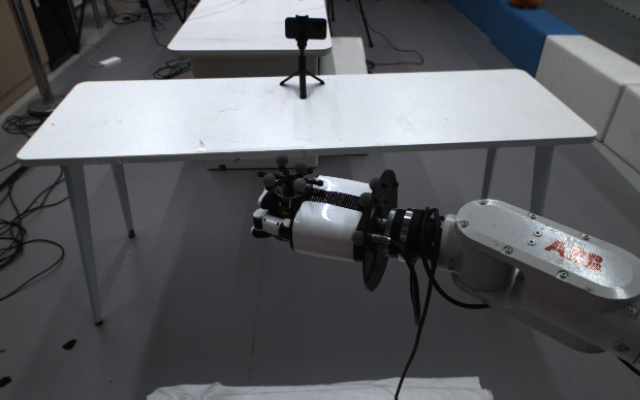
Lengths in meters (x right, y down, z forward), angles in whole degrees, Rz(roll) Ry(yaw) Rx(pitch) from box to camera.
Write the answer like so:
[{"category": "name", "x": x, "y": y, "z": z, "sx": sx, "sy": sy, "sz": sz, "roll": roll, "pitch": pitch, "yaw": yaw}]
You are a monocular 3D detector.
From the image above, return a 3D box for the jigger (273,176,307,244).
[{"category": "jigger", "x": -0.042, "y": 0.018, "z": 0.666, "sx": 0.043, "sy": 0.071, "sz": 0.043, "roll": 5, "pitch": 26, "yaw": -3}]
